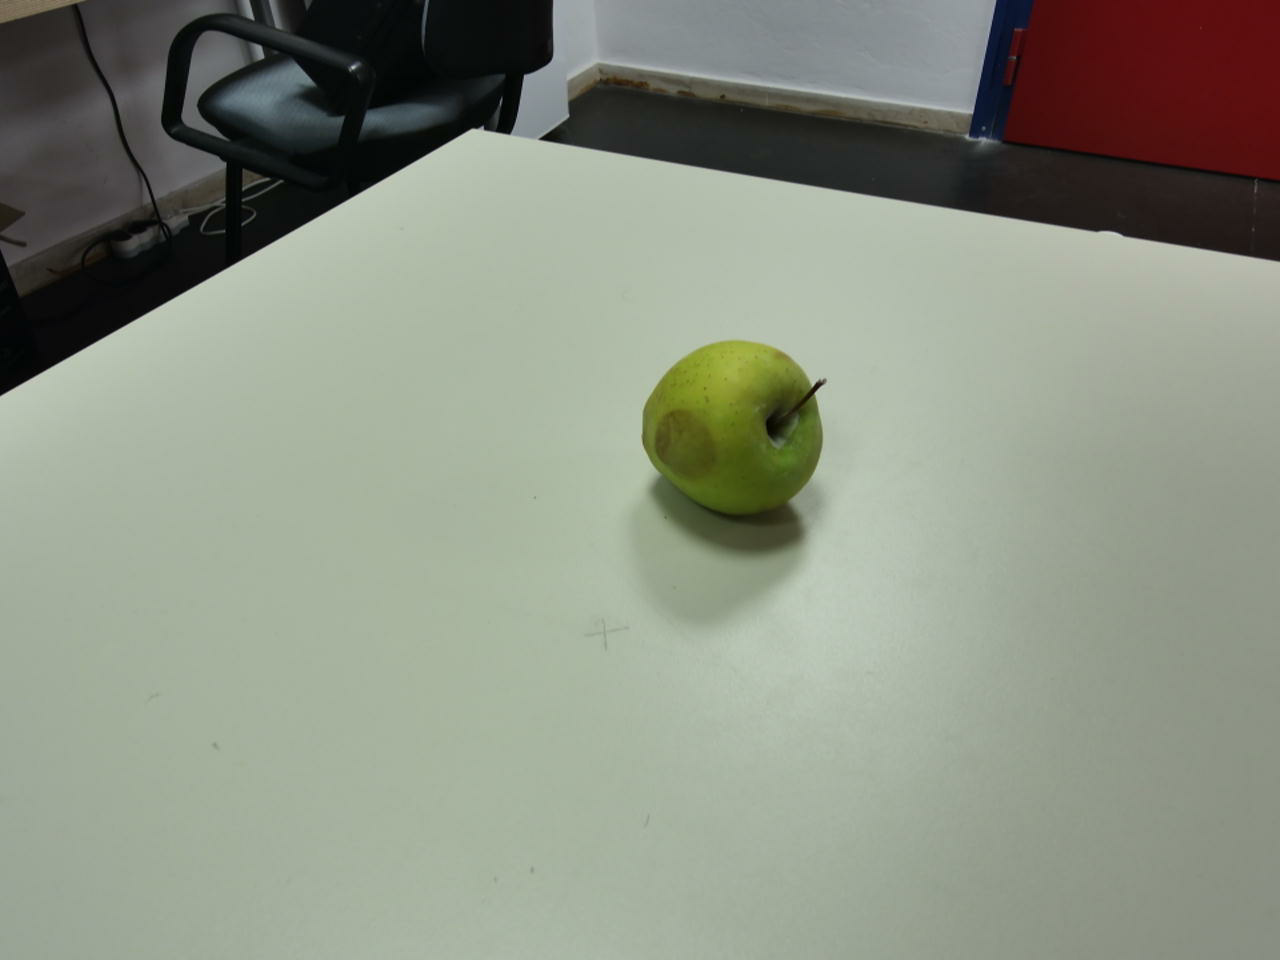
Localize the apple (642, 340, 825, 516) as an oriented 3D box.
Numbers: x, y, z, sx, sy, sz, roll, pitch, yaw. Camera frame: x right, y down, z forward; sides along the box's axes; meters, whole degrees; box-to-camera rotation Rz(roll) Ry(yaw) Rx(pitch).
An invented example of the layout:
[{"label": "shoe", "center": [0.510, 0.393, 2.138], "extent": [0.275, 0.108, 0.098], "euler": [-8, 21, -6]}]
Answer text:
[{"label": "apple", "center": [0.040, -0.024, 0.428], "extent": [0.072, 0.075, 0.077], "euler": [-11, 39, -15]}]
